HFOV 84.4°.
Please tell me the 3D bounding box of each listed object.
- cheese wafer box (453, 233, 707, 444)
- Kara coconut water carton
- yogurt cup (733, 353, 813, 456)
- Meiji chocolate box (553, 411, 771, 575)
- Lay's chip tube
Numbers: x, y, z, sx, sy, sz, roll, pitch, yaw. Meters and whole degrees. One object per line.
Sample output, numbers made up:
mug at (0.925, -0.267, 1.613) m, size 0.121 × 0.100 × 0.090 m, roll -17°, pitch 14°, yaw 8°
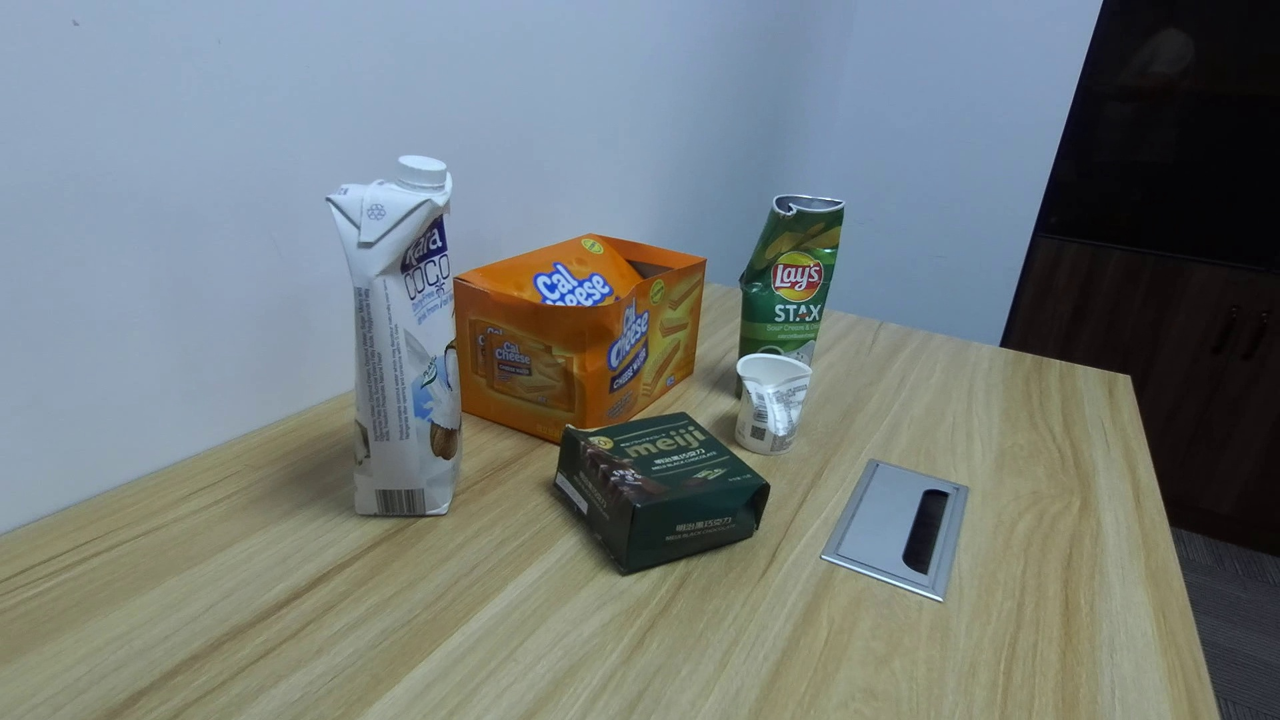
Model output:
cheese wafer box at (-0.050, -0.027, 0.674) m, size 0.151 × 0.132 × 0.231 m, roll 17°, pitch 25°, yaw 24°
Kara coconut water carton at (-0.158, -0.012, 0.475) m, size 0.069 × 0.238 × 0.115 m, roll 4°, pitch 23°, yaw -6°
yogurt cup at (0.112, 0.039, 0.618) m, size 0.067 × 0.070 × 0.067 m, roll 2°, pitch 23°, yaw -1°
Meiji chocolate box at (0.014, 0.089, 0.507) m, size 0.116 × 0.058 × 0.122 m, roll -6°, pitch 25°, yaw -30°
Lay's chip tube at (0.138, -0.054, 0.675) m, size 0.069 × 0.201 × 0.077 m, roll 16°, pitch 29°, yaw 24°
